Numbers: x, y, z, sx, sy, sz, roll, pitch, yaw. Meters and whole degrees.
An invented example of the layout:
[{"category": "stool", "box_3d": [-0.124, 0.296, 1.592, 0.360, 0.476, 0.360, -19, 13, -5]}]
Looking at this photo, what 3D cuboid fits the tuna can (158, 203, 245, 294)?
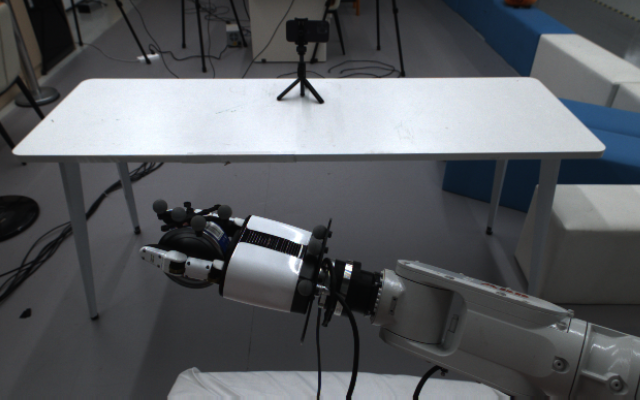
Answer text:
[{"category": "tuna can", "box_3d": [-0.153, 0.066, 0.599, 0.085, 0.085, 0.034, 6, 22, 5]}]
